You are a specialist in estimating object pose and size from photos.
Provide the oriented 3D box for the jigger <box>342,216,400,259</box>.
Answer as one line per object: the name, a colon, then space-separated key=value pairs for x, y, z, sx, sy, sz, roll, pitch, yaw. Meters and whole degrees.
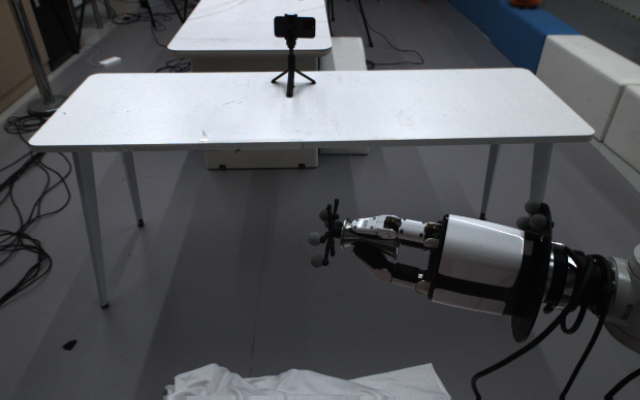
jigger: x=0.070 y=0.041 z=0.594 sx=0.071 sy=0.043 sz=0.043 roll=8 pitch=35 yaw=14
